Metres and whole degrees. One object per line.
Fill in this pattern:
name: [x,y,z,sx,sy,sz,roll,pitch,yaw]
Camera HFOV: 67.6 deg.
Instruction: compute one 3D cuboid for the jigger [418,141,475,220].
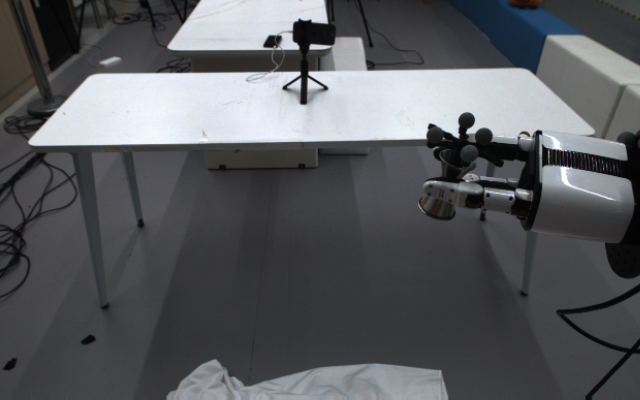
jigger: [0.139,-0.017,0.536,0.043,0.071,0.043,10,36,-7]
